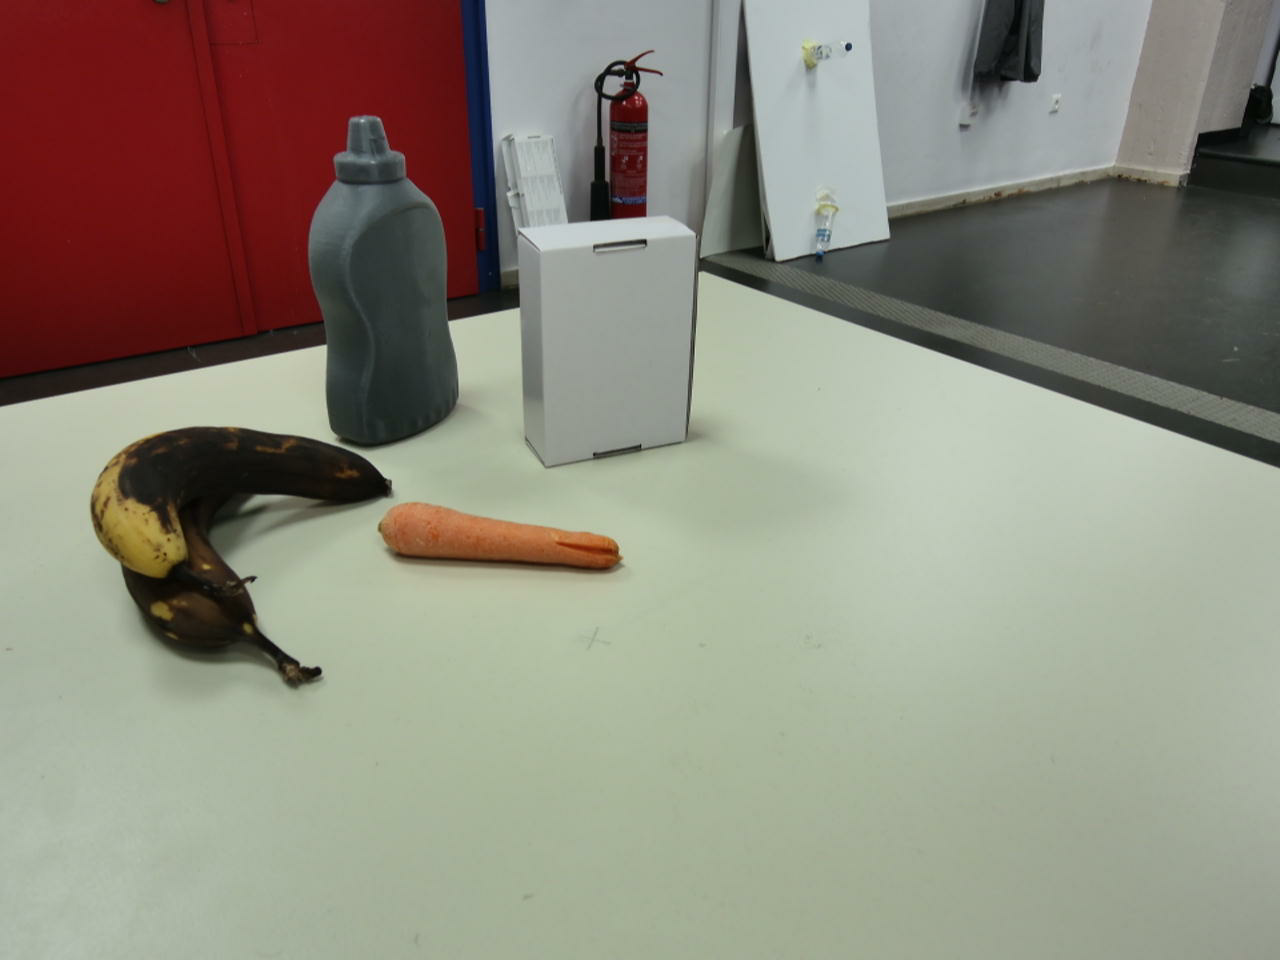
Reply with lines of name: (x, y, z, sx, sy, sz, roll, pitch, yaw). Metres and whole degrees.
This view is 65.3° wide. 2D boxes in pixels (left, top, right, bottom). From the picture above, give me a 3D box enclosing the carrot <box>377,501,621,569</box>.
carrot: (-0.078, 0.031, 0.548, 0.136, 0.032, 0.030, 4, 25, 7)
